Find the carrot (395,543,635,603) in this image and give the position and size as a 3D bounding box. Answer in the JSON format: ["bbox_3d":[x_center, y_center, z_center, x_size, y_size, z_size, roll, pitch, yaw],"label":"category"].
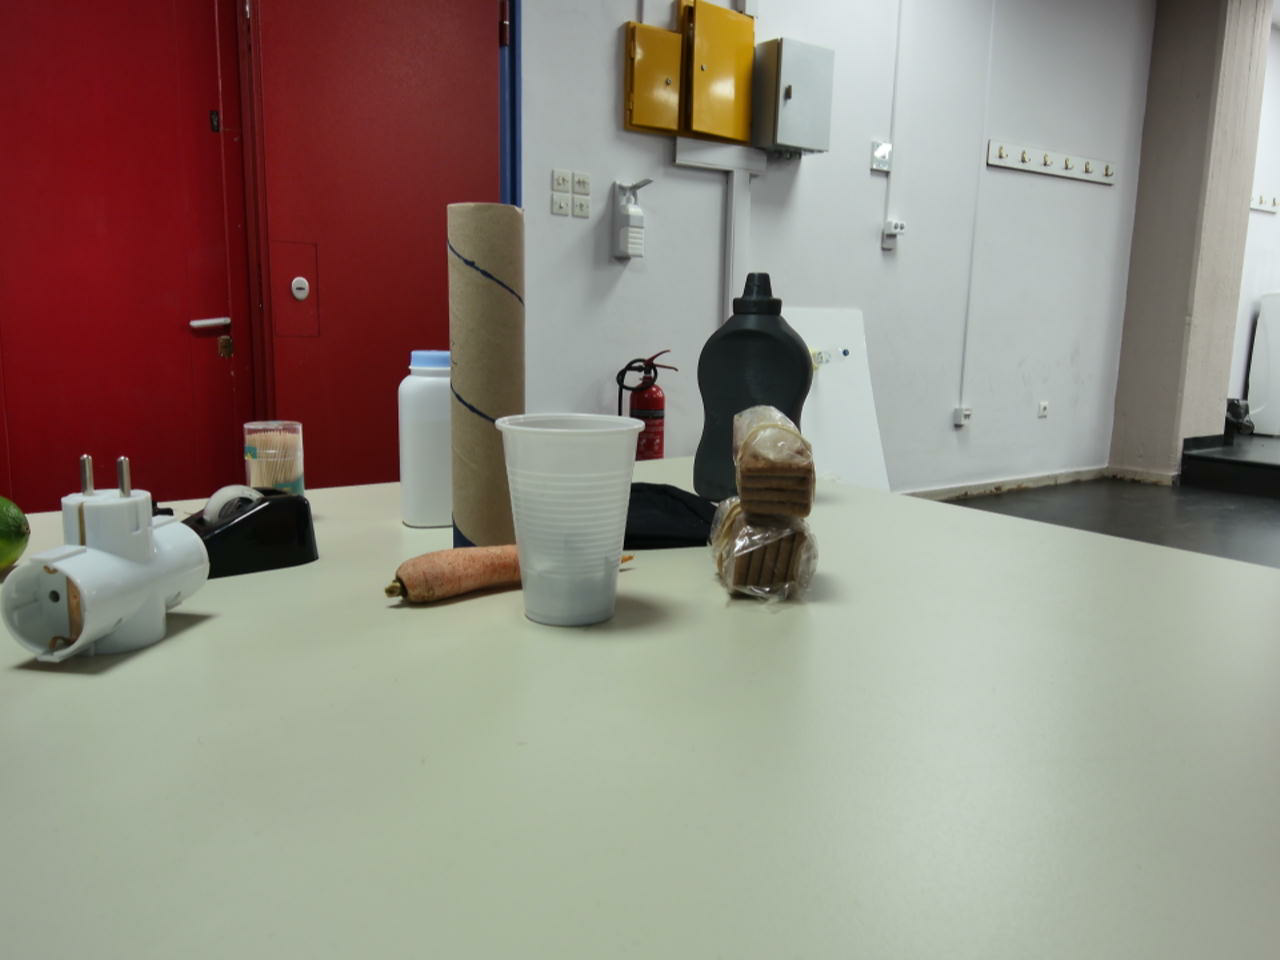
[{"bbox_3d":[-0.073,0.051,0.610,0.163,0.029,0.031,-5,10,-35],"label":"carrot"}]
